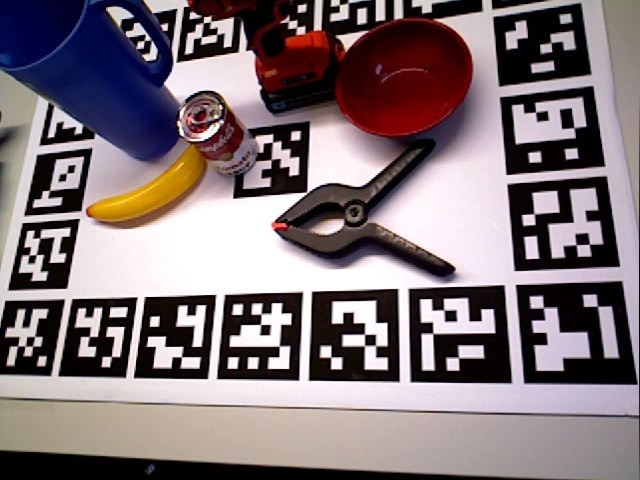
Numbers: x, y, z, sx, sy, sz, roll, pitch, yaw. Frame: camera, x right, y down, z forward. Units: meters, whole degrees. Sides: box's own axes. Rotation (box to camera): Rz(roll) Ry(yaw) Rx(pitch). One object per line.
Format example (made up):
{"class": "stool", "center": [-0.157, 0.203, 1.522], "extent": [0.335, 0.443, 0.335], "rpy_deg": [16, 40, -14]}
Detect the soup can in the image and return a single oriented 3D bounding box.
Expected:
{"class": "soup can", "center": [-0.127, -0.129, 0.667], "extent": [0.068, 0.103, 0.067], "rpy_deg": [-8, 61, 14]}

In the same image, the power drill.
{"class": "power drill", "center": [-0.028, -0.251, 0.607], "extent": [0.185, 0.188, 0.057], "rpy_deg": [-9, 69, 13]}

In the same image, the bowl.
{"class": "bowl", "center": [0.098, -0.177, 0.636], "extent": [0.162, 0.055, 0.160], "rpy_deg": [-5, 73, 16]}

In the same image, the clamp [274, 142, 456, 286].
{"class": "clamp", "center": [0.040, -0.022, 0.608], "extent": [0.204, 0.036, 0.164], "rpy_deg": [-7, 75, 15]}

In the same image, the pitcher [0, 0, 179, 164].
{"class": "pitcher", "center": [-0.261, -0.201, 0.654], "extent": [0.189, 0.244, 0.132], "rpy_deg": [-27, 63, 6]}

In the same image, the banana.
{"class": "banana", "center": [-0.238, -0.060, 0.716], "extent": [0.198, 0.039, 0.073], "rpy_deg": [-28, 58, 5]}
